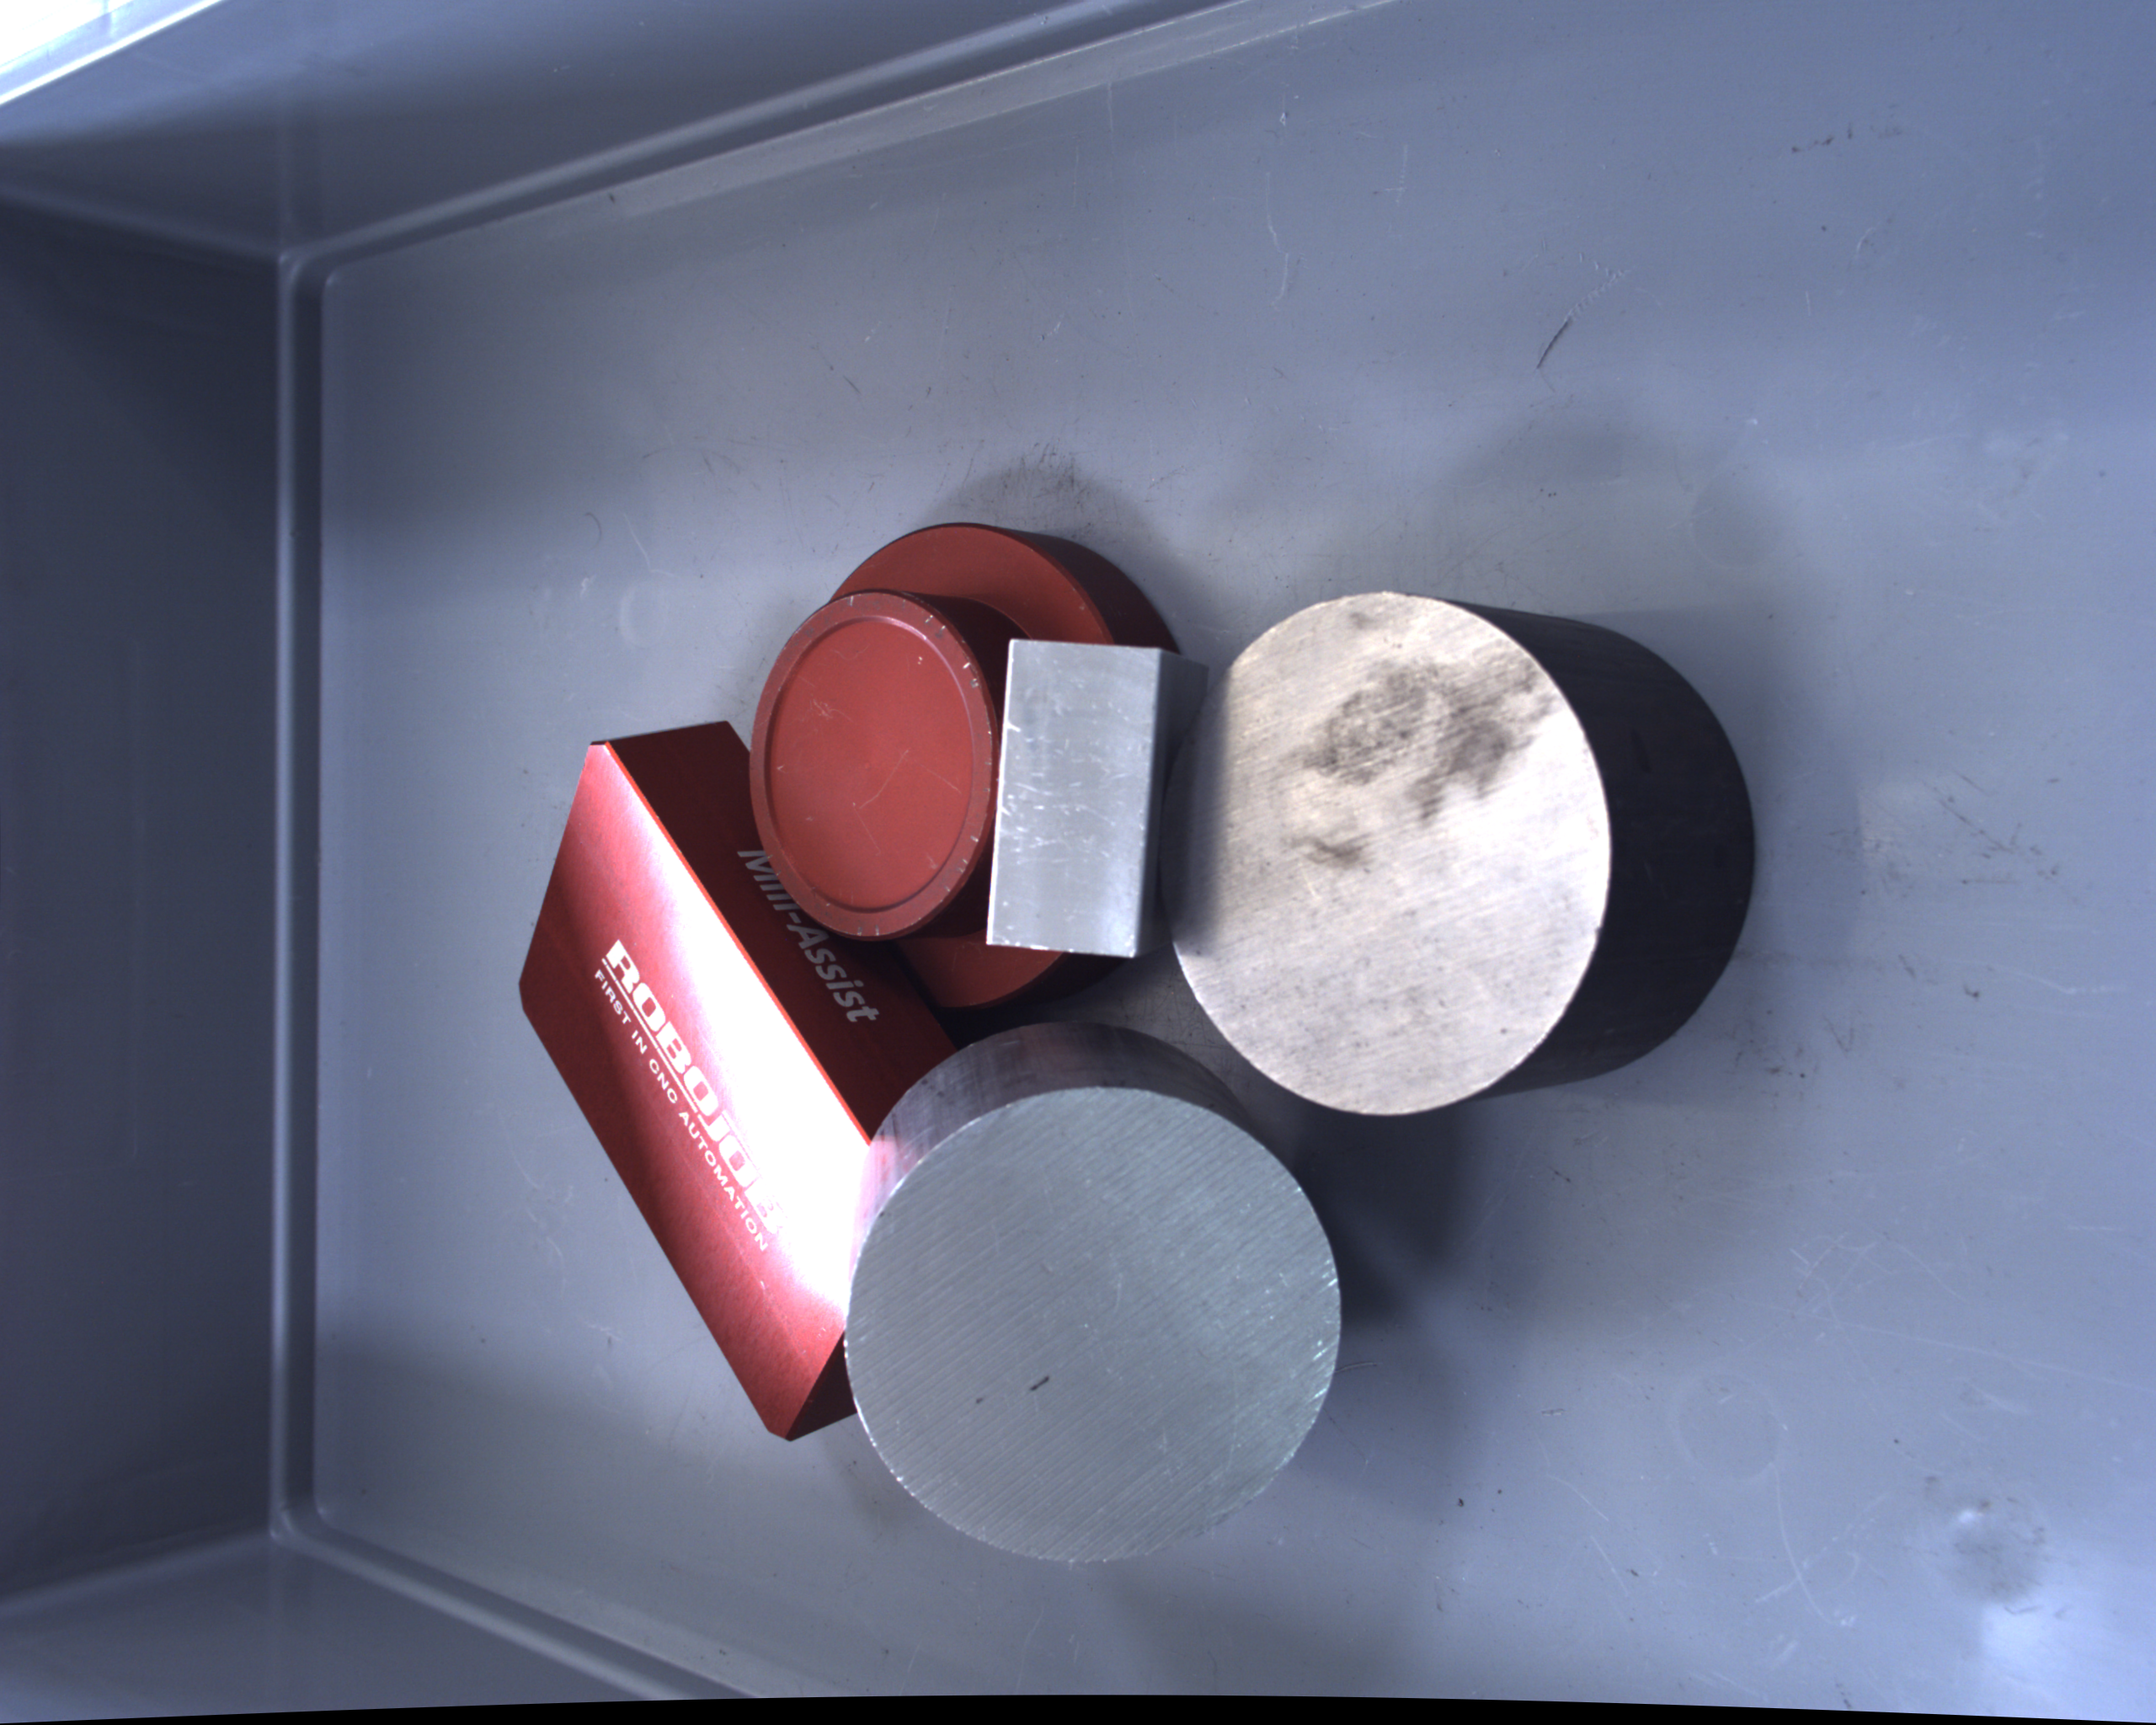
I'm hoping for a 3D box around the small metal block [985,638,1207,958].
[{"bbox_3d":[0.004,-0.011,0.360,0.025,0.050,0.050,5,93,12],"label":"small metal block"}]

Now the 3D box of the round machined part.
[{"bbox_3d":[-0.028,-0.019,0.415,0.098,0.042,0.097,0,90,40],"label":"round machined part"}]

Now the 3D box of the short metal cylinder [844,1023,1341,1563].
[{"bbox_3d":[0.000,0.072,0.360,0.050,0.081,0.079,-132,49,-80],"label":"short metal cylinder"}]

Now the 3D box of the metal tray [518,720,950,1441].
[{"bbox_3d":[-0.071,0.044,0.445,0.130,0.030,0.089,53,136,26],"label":"metal tray"}]

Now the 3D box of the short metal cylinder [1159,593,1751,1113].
[{"bbox_3d":[0.060,-0.002,0.339,0.080,0.050,0.079,0,90,40],"label":"short metal cylinder"}]
